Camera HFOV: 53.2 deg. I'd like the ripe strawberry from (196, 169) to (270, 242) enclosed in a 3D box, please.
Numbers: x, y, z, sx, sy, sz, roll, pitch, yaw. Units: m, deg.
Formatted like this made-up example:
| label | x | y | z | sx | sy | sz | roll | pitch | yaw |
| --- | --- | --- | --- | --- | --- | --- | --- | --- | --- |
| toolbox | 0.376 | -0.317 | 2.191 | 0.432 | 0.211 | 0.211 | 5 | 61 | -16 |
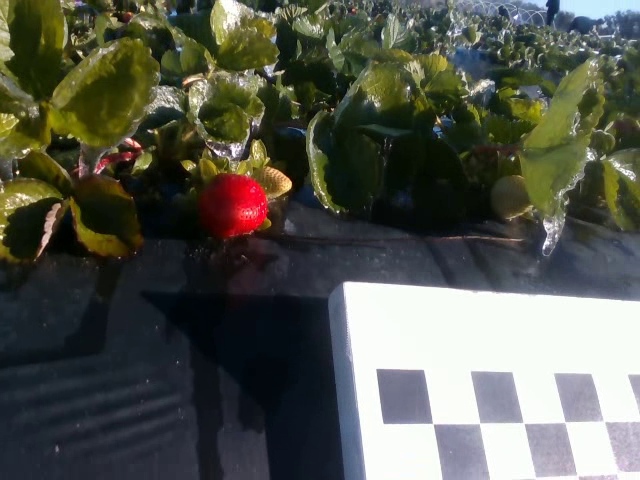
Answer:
| label | x | y | z | sx | sy | sz | roll | pitch | yaw |
| --- | --- | --- | --- | --- | --- | --- | --- | --- | --- |
| ripe strawberry | -0.032 | -0.013 | 0.251 | 0.039 | 0.040 | 0.039 | -9 | 3 | -15 |
